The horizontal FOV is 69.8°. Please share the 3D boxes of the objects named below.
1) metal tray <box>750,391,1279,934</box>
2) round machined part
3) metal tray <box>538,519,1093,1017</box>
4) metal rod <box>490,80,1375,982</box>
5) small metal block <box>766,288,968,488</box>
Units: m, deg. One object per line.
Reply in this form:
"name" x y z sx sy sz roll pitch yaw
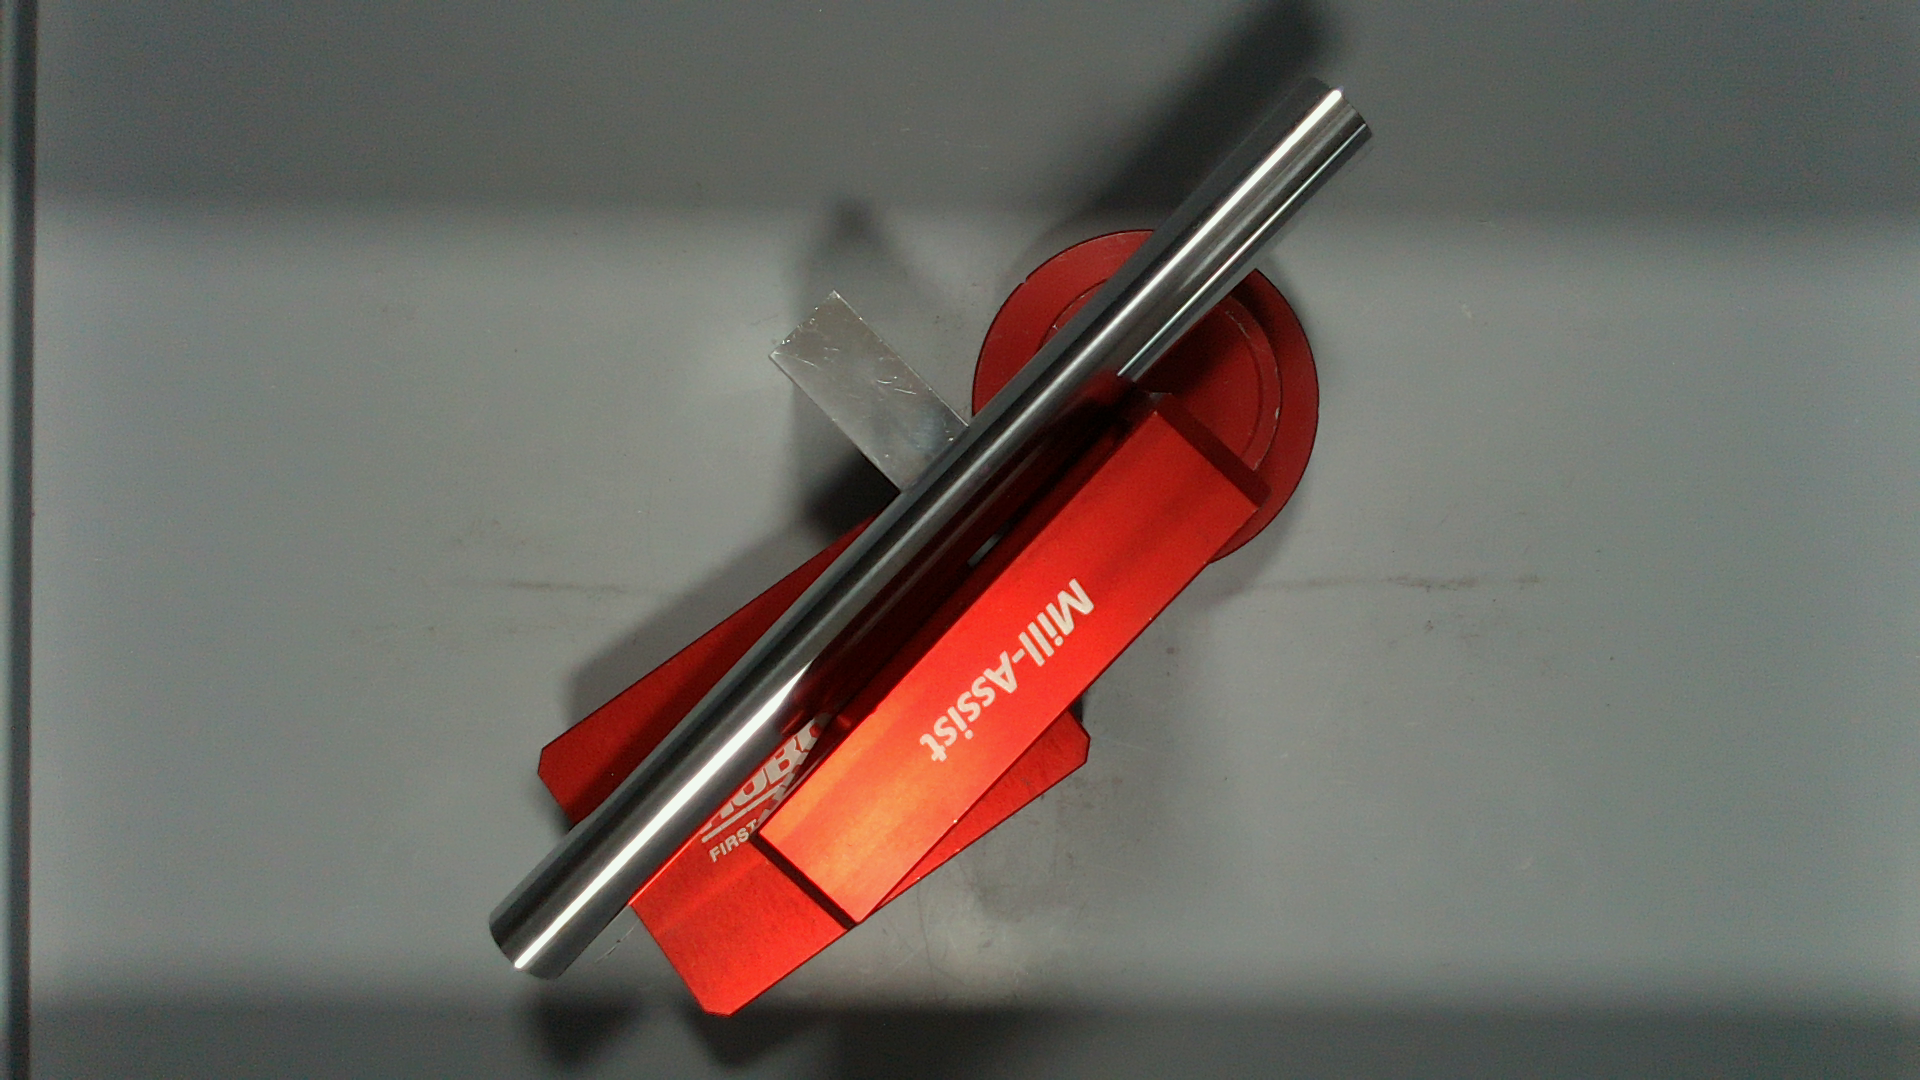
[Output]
"metal tray" 0.012 0.022 0.324 0.030 0.090 0.130 43 97 -3
"round machined part" 0.052 -0.039 0.385 0.098 0.042 0.098 0 90 0
"metal tray" -0.040 0.060 0.392 0.130 0.030 0.090 -35 90 0
"metal rod" -0.010 0.001 0.355 0.025 0.025 0.300 44 94 0
"small metal block" -0.024 -0.039 0.382 0.025 0.050 0.050 -45 90 0
